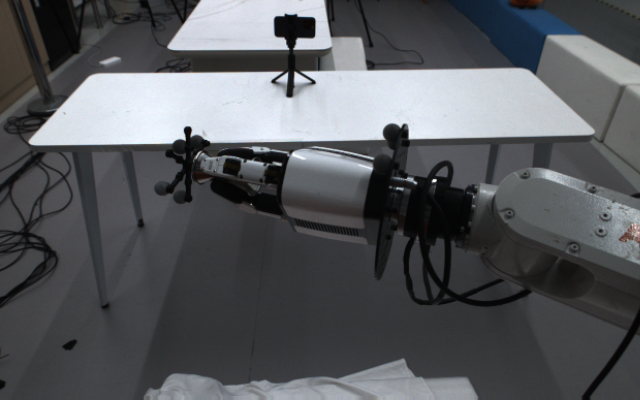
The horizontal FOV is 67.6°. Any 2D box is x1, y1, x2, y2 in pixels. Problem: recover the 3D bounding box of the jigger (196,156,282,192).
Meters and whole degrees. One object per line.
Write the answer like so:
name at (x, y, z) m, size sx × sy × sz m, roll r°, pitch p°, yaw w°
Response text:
jigger at (-0.097, -0.035, 0.538) m, size 0.071 × 0.043 × 0.043 m, roll 10°, pitch 35°, yaw 16°
